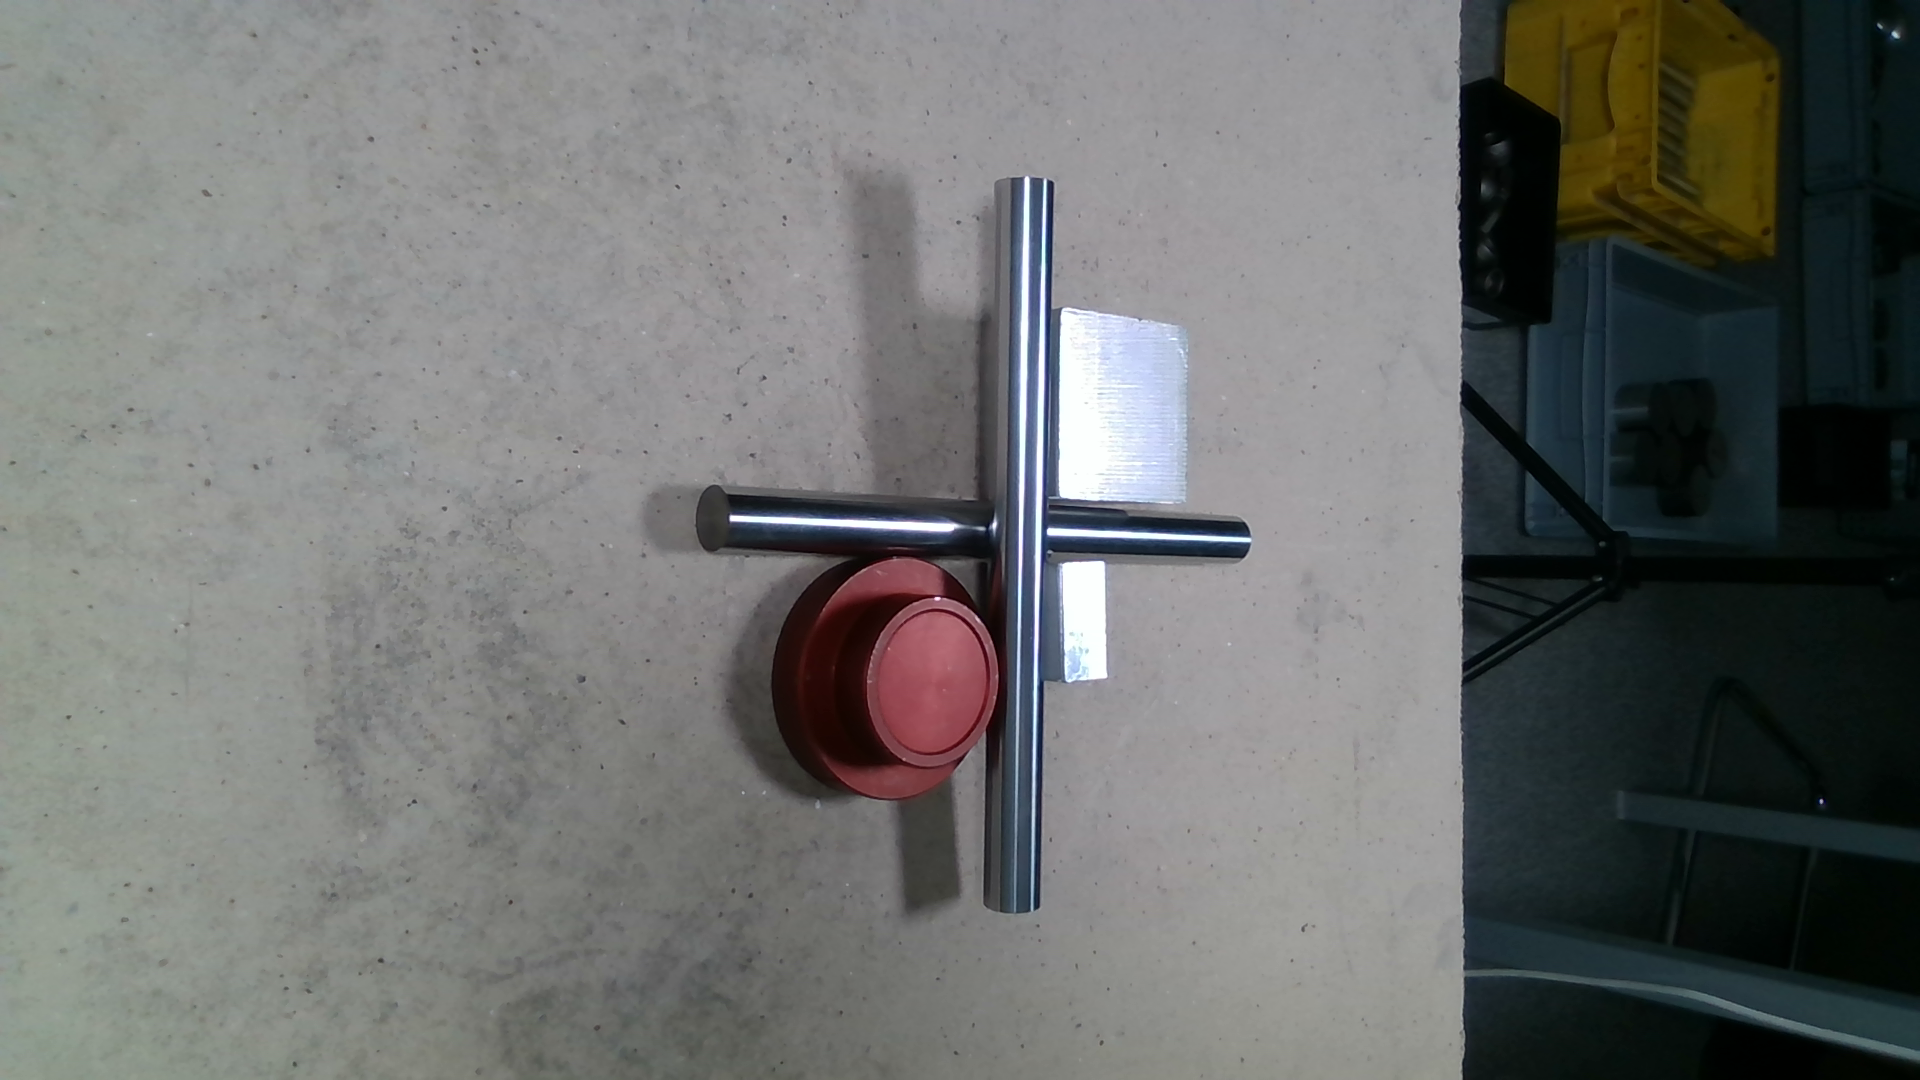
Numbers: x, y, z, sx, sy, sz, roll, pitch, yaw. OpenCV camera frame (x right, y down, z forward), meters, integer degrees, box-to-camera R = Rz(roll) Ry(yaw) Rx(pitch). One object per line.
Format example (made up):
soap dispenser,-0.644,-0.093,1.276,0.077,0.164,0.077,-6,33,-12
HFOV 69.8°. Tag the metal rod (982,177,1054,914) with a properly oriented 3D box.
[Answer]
metal rod,0.024,0.005,0.571,0.025,0.025,0.300,-3,96,-40

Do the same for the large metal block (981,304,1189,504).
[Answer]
large metal block,0.056,-0.057,0.613,0.080,0.050,0.080,1,89,-40

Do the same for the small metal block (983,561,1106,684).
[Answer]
small metal block,0.036,0.034,0.598,0.025,0.050,0.050,-2,91,-40

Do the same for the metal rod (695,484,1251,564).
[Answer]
metal rod,0.023,-0.004,0.603,0.300,0.025,0.025,2,89,-40

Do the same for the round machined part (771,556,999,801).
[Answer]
round machined part,-0.023,0.056,0.552,0.098,0.042,0.098,0,90,-40
